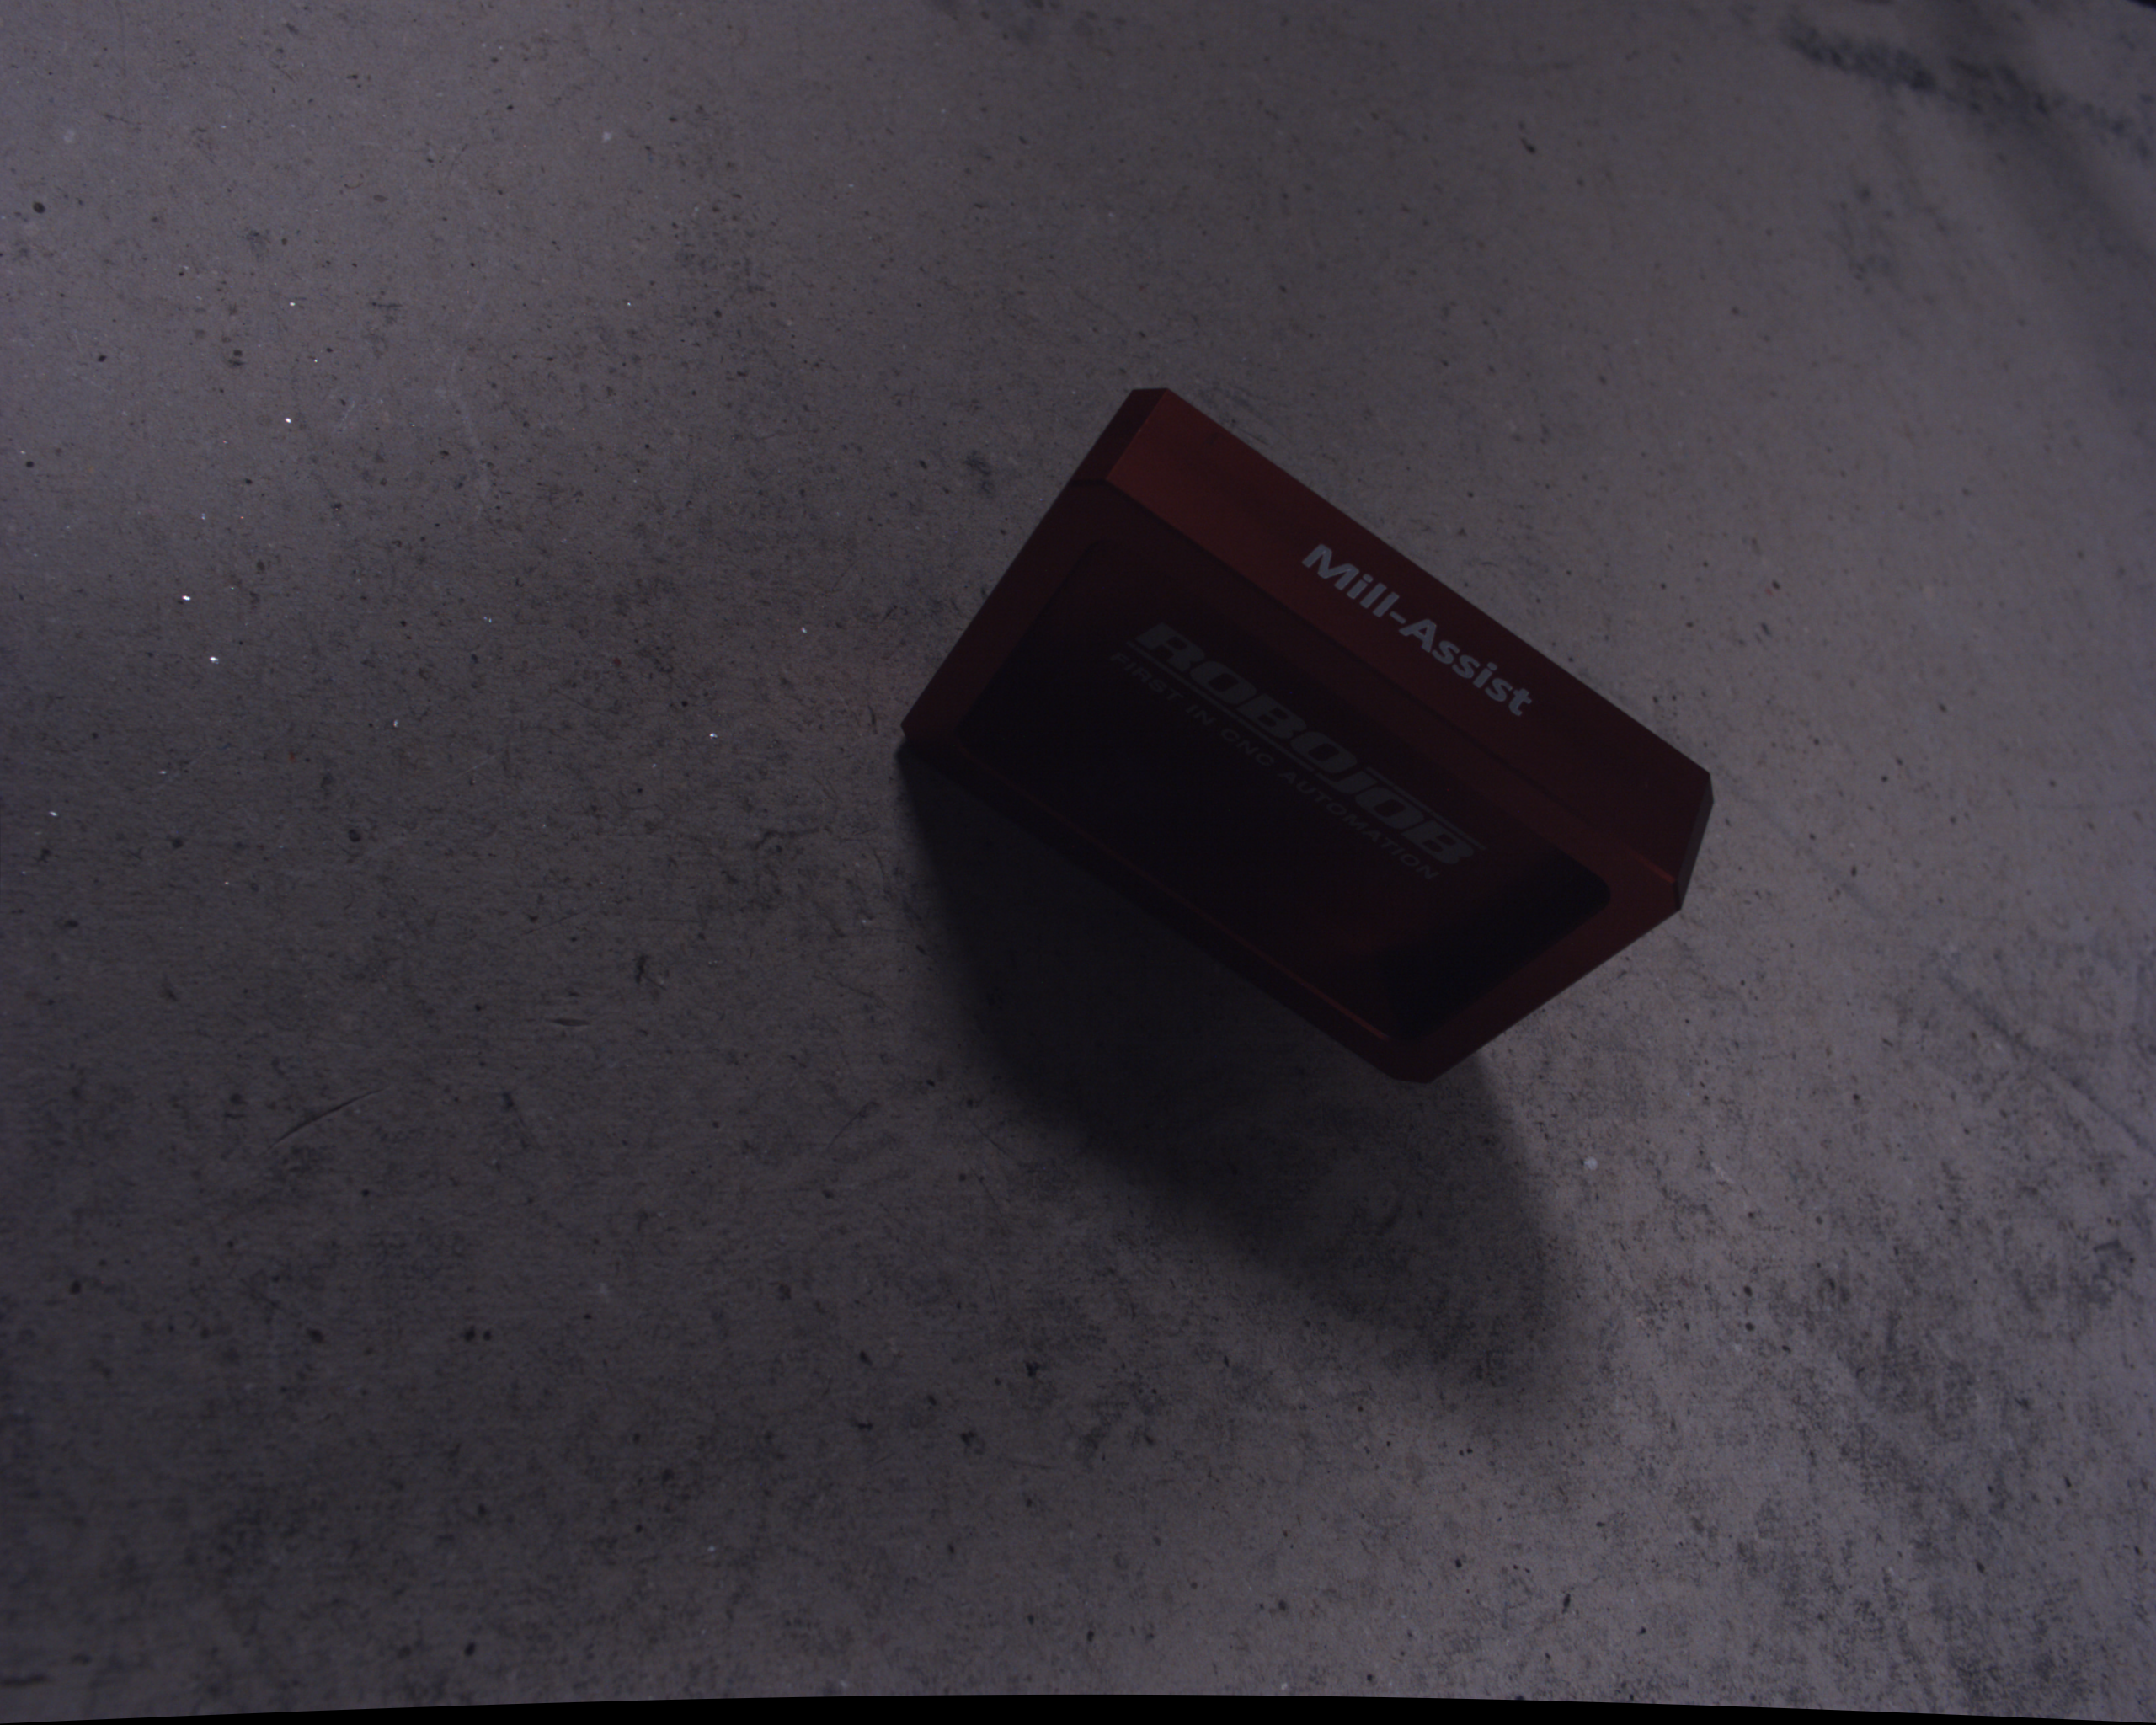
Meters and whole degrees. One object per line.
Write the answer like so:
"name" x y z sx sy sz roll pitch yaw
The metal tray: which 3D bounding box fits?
"metal tray" 0.041 -0.019 0.399 0.130 0.090 0.030 34 51 -6
